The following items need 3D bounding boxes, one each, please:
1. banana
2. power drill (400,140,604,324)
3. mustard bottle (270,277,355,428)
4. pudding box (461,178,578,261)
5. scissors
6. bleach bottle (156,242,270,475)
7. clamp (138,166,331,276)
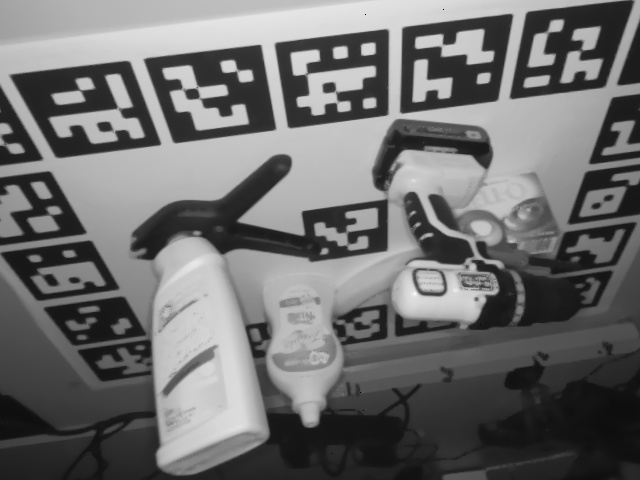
[{"bbox_3d":[0.094,0.080,0.895,0.194,0.039,0.075,-36,149,27],"label":"banana"},{"bbox_3d":[0.159,-0.009,0.656,0.186,0.188,0.056,-1,146,-13],"label":"power drill"},{"bbox_3d":[-0.008,0.134,0.837,0.097,0.192,0.057,3,138,-11],"label":"mustard bottle"},{"bbox_3d":[0.216,-0.021,0.772,0.114,0.090,0.038,-5,146,-4],"label":"pudding box"},{"bbox_3d":[0.232,0.031,0.736,0.204,0.016,0.086,12,131,-17],"label":"scissors"},{"bbox_3d":[-0.122,0.095,0.697,0.102,0.251,0.068,-25,141,8],"label":"bleach bottle"},{"bbox_3d":[-0.100,0.001,0.755,0.202,0.037,0.164,-11,137,5],"label":"clamp"}]
